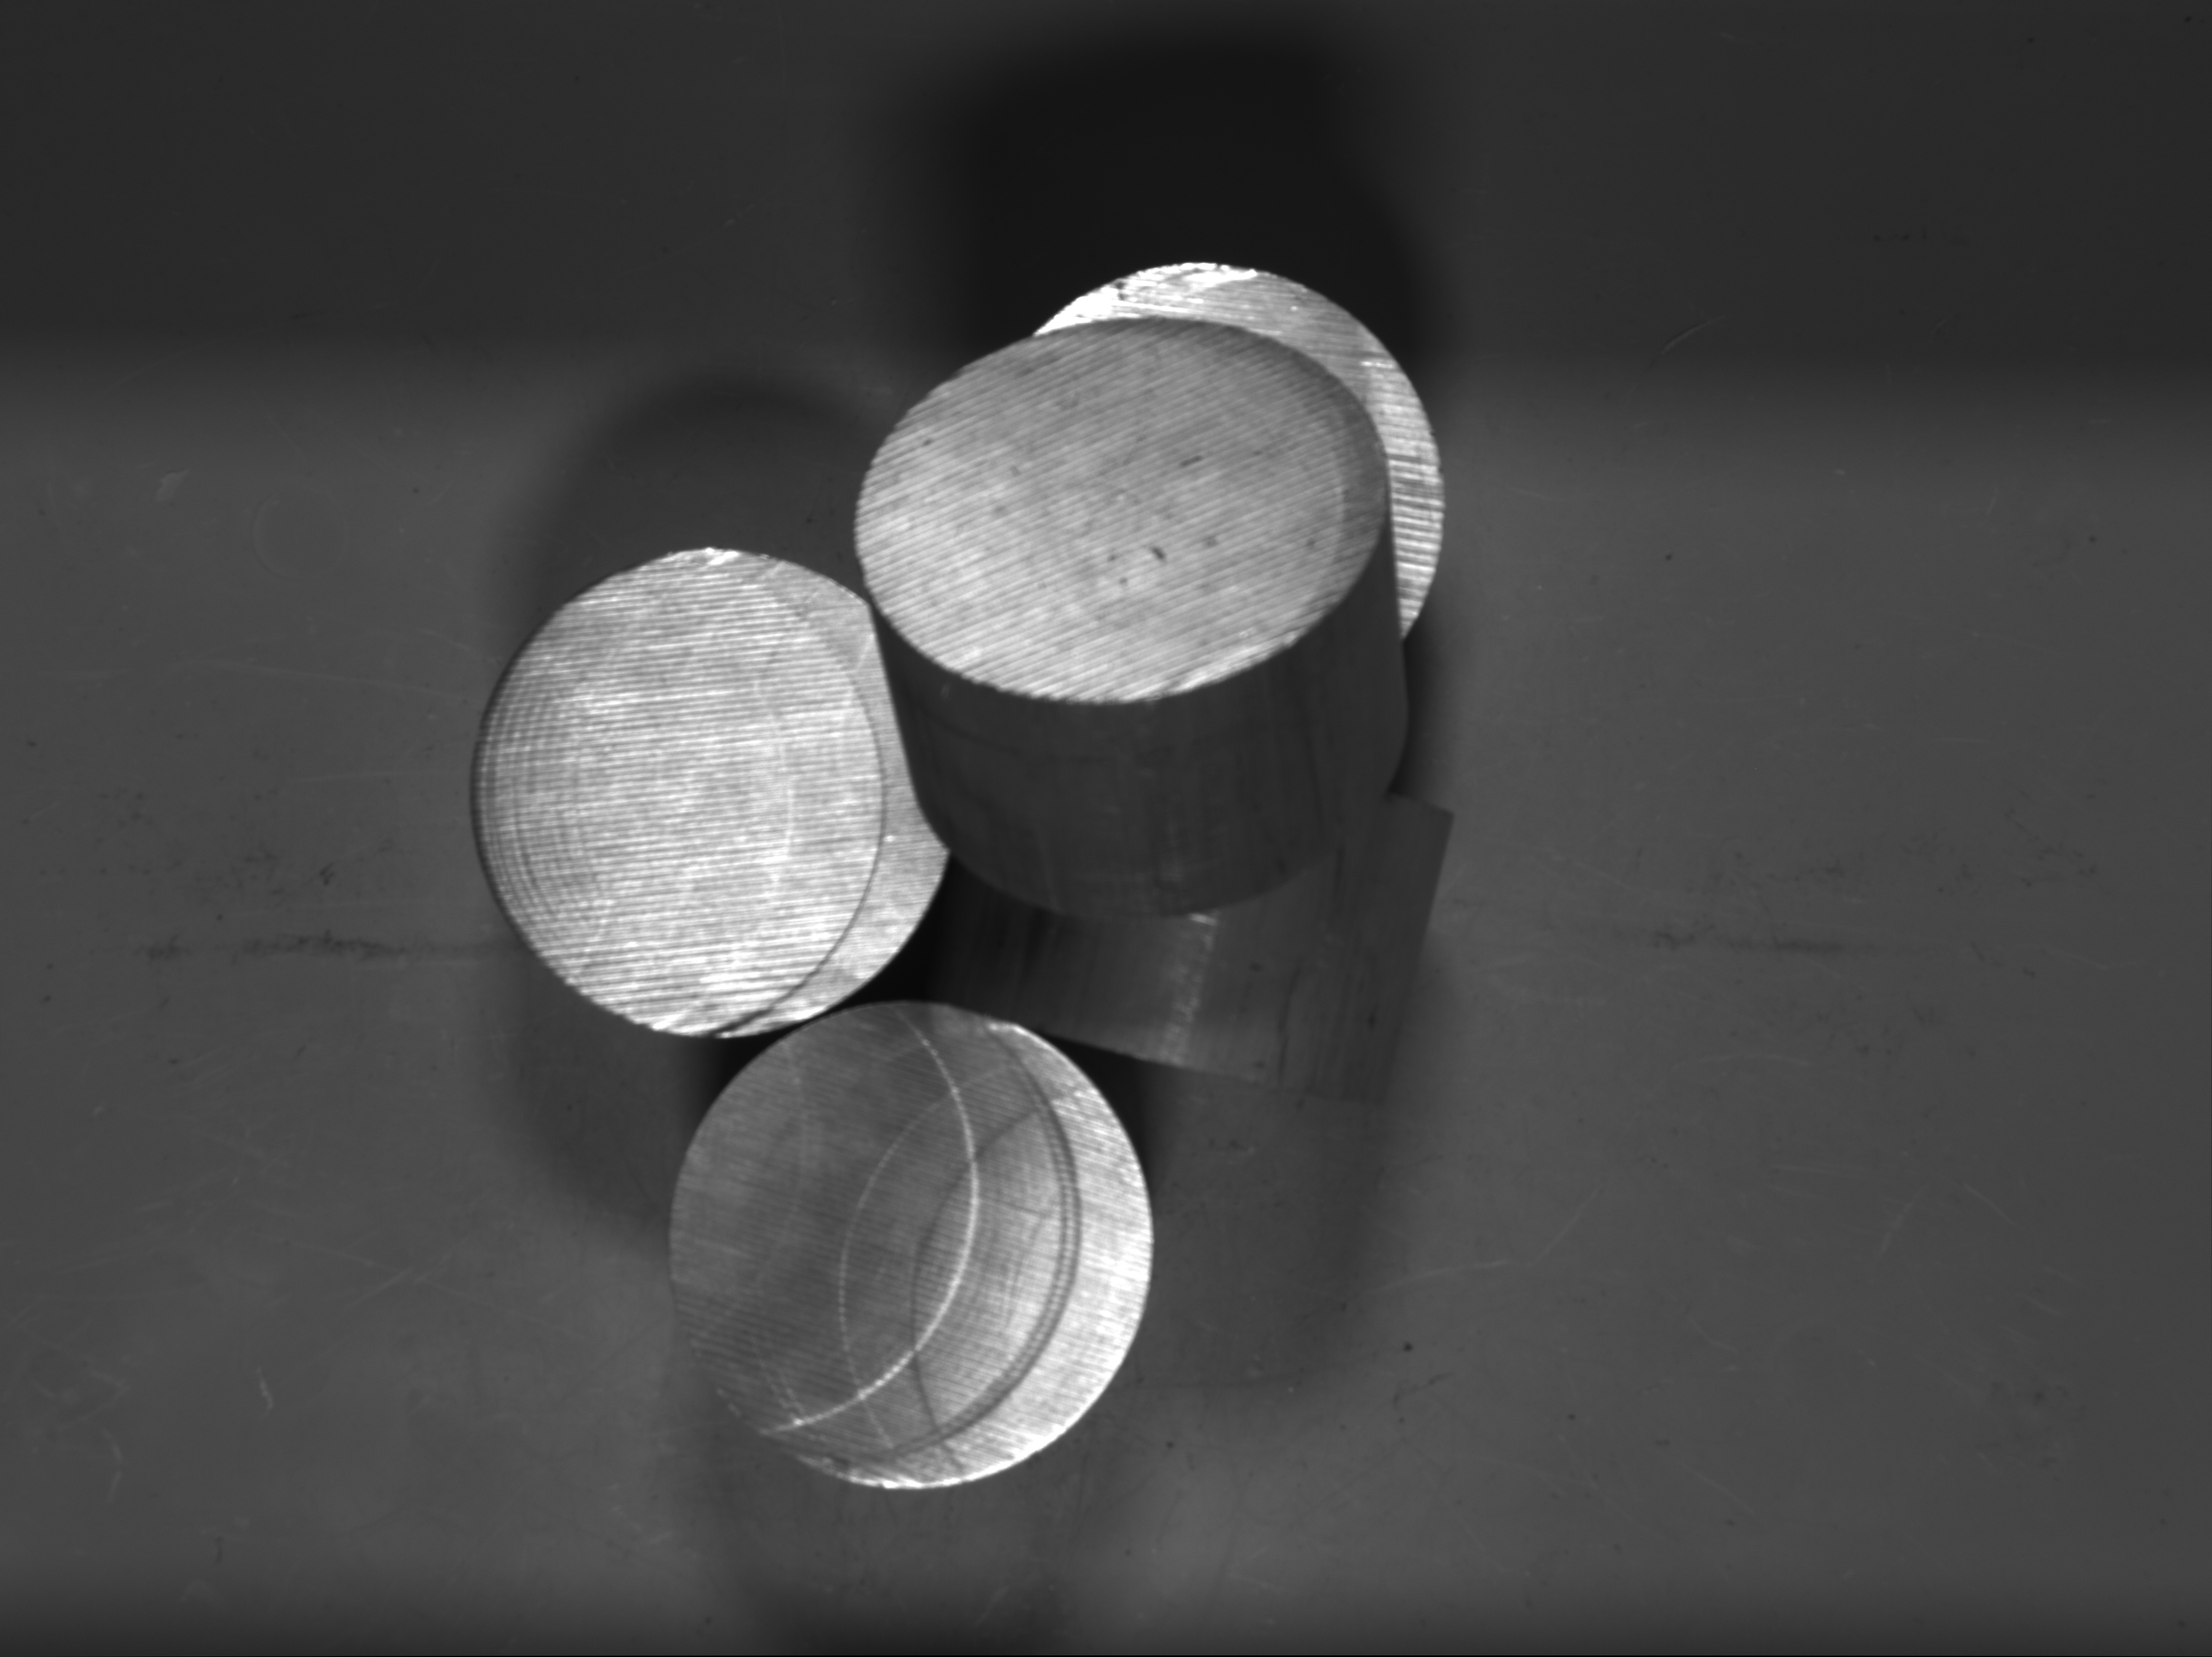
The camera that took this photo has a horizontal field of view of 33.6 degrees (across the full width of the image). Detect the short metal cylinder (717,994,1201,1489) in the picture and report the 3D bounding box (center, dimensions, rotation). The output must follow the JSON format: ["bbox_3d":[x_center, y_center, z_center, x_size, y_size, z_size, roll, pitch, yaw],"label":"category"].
[{"bbox_3d":[-0.024,0.069,0.631,0.080,0.050,0.080,0,90,0],"label":"short metal cylinder"}]

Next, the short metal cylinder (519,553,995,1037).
[{"bbox_3d":[-0.057,-0.005,0.630,0.080,0.050,0.080,0,90,0],"label":"short metal cylinder"}]

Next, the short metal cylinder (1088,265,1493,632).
[{"bbox_3d":[0.024,-0.053,0.632,0.080,0.050,0.080,0,90,0],"label":"short metal cylinder"}]

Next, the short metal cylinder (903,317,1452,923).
[{"bbox_3d":[0.012,-0.032,0.561,0.080,0.050,0.080,-4,50,5],"label":"short metal cylinder"}]

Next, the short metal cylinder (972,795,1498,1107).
[{"bbox_3d":[0.022,0.013,0.617,0.080,0.080,0.050,14,90,0],"label":"short metal cylinder"}]
